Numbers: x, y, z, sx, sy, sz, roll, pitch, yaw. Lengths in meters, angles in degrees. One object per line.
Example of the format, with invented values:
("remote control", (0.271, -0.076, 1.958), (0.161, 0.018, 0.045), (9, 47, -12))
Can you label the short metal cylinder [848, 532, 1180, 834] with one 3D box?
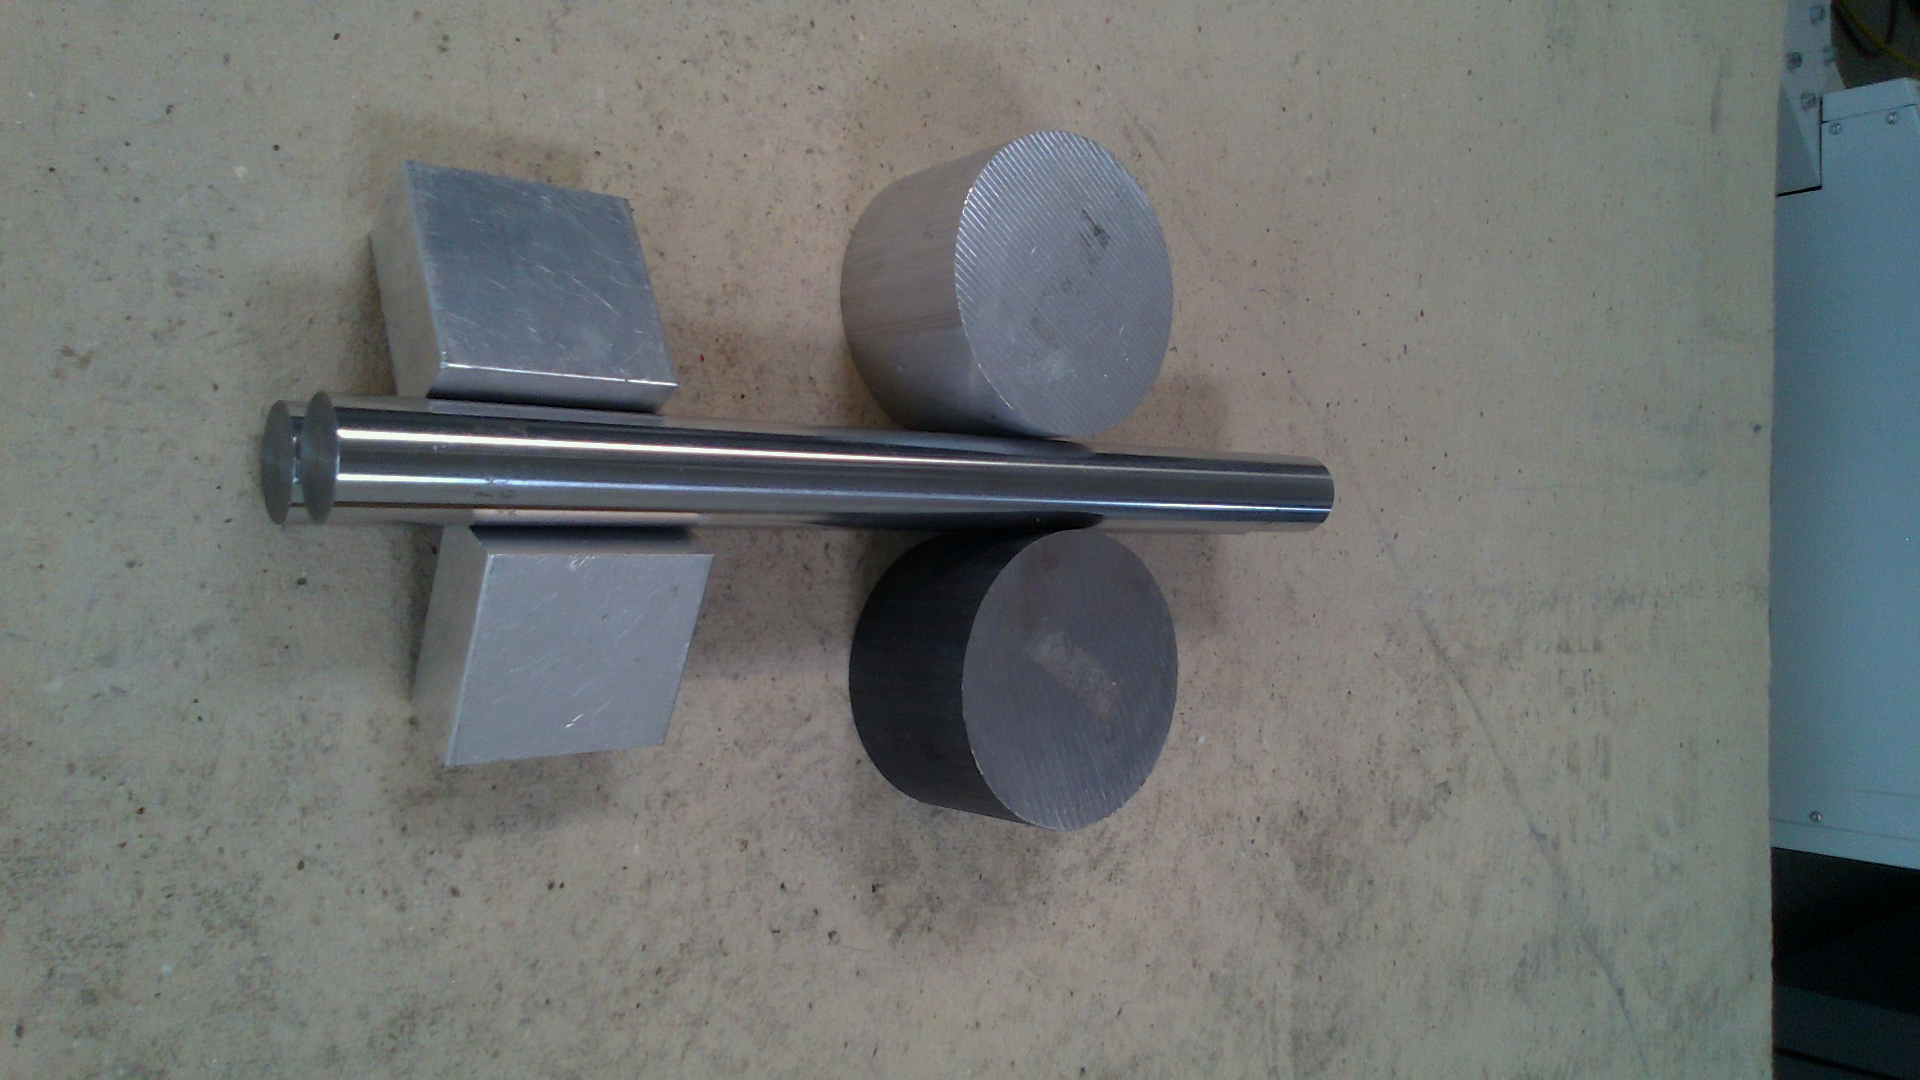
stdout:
("short metal cylinder", (0.016, 0.038, 0.386), (0.080, 0.050, 0.080), (0, 90, -40))

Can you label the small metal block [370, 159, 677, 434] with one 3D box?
("small metal block", (-0.095, -0.050, 0.298), (0.050, 0.025, 0.050), (0, 63, -40))

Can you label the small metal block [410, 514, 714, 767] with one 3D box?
("small metal block", (-0.088, 0.020, 0.303), (0.050, 0.025, 0.050), (1, 116, -40))

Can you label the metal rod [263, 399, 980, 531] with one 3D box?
("metal rod", (-0.021, -0.015, 0.371), (0.301, 0.025, 0.025), (0, 90, -40))

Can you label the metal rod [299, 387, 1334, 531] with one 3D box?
("metal rod", (-0.004, -0.016, 0.353), (0.301, 0.025, 0.025), (0, 90, -40))

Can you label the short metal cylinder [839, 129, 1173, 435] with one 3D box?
("short metal cylinder", (0.014, -0.068, 0.384), (0.080, 0.050, 0.080), (0, 90, -40))
